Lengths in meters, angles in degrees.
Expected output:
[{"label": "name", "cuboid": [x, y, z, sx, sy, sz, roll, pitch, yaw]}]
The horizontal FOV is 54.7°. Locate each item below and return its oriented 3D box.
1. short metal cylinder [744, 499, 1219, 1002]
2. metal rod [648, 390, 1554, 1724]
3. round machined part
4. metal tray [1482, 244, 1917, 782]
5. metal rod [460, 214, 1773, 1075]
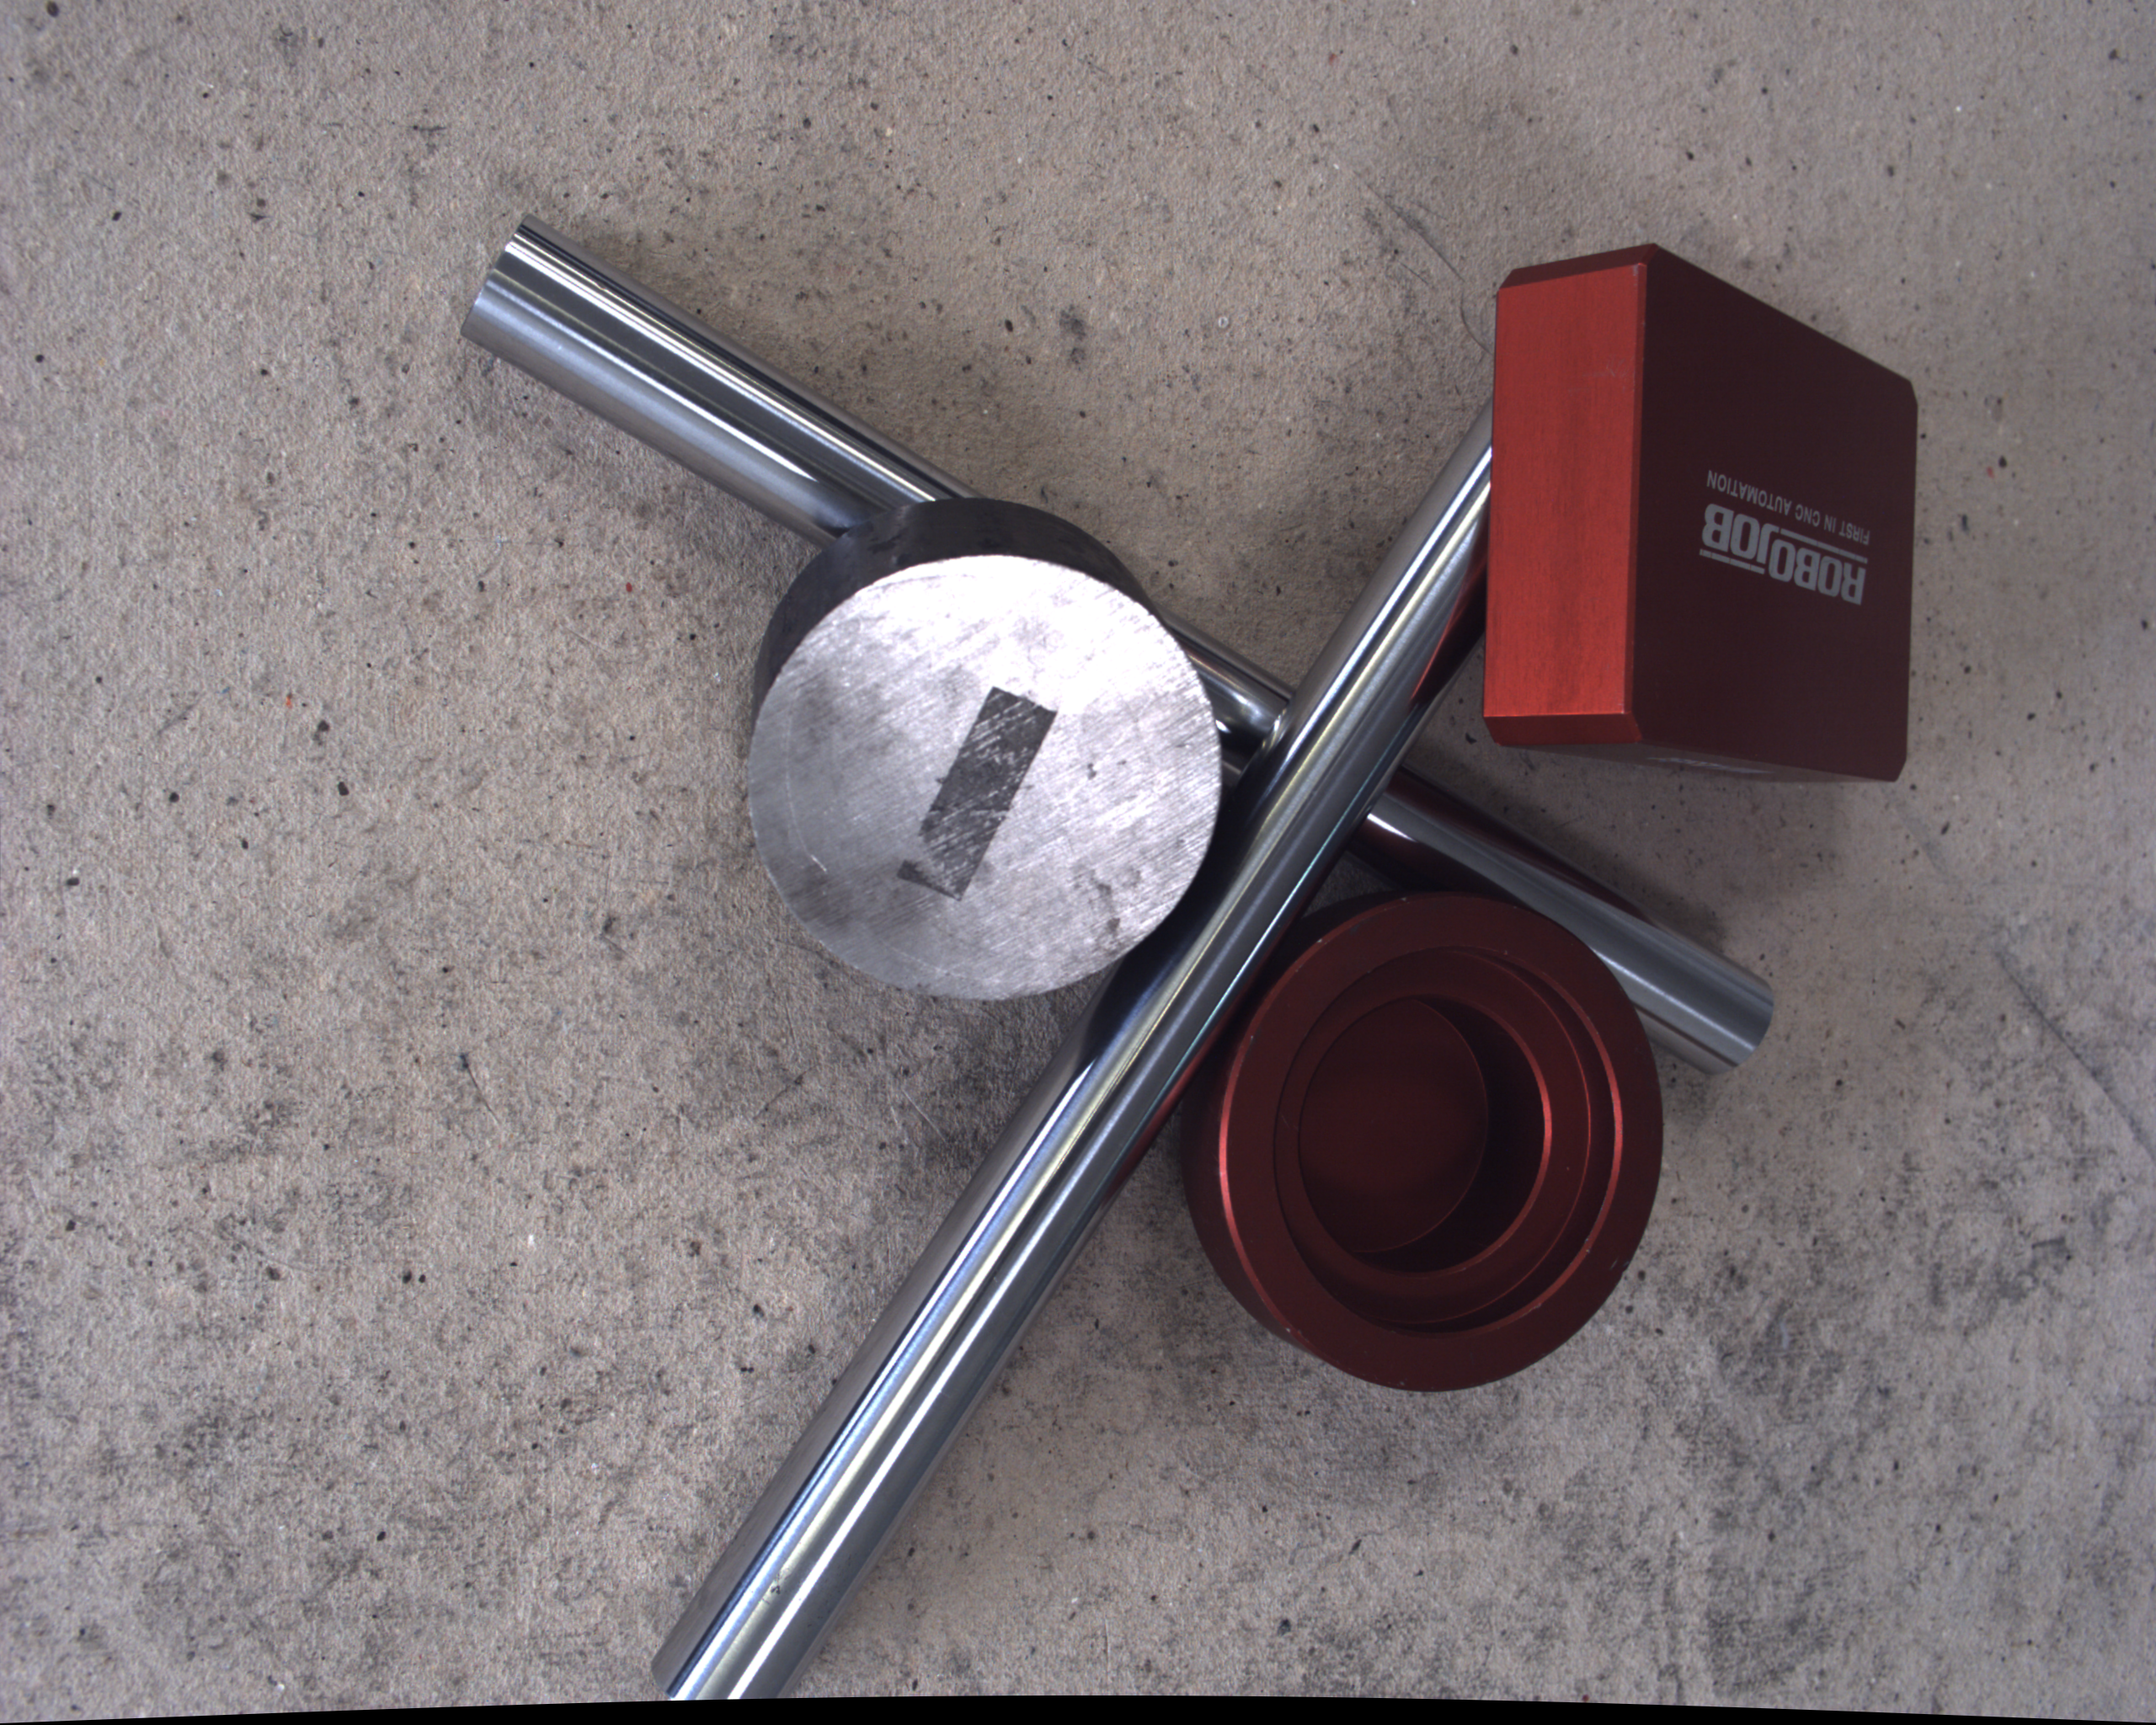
[{"label": "short metal cylinder", "cuboid": [-0.019, -0.021, 0.376, 0.081, 0.050, 0.079, -3, 111, -7]}, {"label": "metal rod", "cuboid": [0.014, 0.030, 0.397, 0.025, 0.025, 0.300, 35, 85, -17]}, {"label": "round machined part", "cuboid": [0.066, 0.055, 0.426, 0.099, 0.042, 0.097, 0, 90, -20]}, {"label": "metal tray", "cuboid": [0.131, -0.064, 0.426, 0.131, 0.030, 0.089, 2, 89, -48]}, {"label": "metal rod", "cuboid": [0.021, -0.034, 0.419, 0.301, 0.025, 0.025, 30, 80, -18]}]
